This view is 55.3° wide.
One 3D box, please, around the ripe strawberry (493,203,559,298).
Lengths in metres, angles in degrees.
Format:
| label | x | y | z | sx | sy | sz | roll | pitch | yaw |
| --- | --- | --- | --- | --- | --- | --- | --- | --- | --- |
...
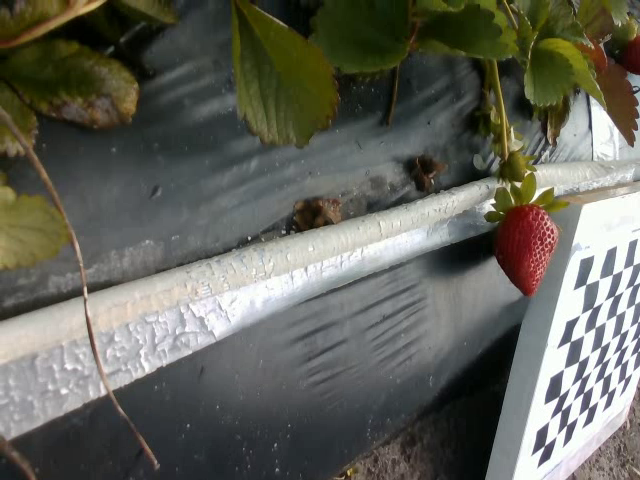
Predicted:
| label | x | y | z | sx | sy | sz | roll | pitch | yaw |
| --- | --- | --- | --- | --- | --- | --- | --- | --- | --- |
| ripe strawberry | 0.105 | 0.006 | 0.309 | 0.030 | 0.053 | 0.048 | -4 | -31 | 29 |
